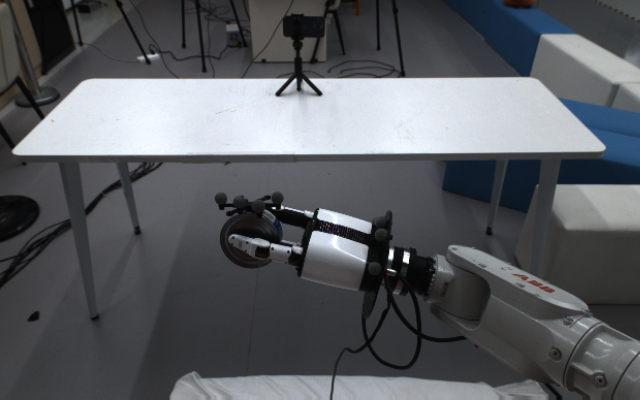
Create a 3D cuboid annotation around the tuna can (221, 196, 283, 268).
[{"bbox_3d":[-0.091,0.054,0.693,0.085,0.085,0.034,4,18,3],"label":"tuna can"}]
